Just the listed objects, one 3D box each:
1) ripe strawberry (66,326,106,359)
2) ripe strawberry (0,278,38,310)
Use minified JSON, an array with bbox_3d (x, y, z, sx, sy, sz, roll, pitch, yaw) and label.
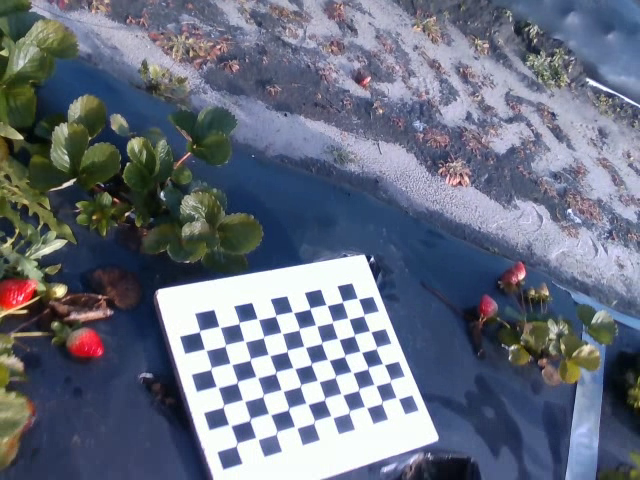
[{"bbox_3d":[-0.244,0.113,0.652,0.043,0.035,0.030,38,-34,0],"label":"ripe strawberry"},{"bbox_3d":[-0.311,0.052,0.646,0.048,0.040,0.031,-32,-10,9],"label":"ripe strawberry"}]
